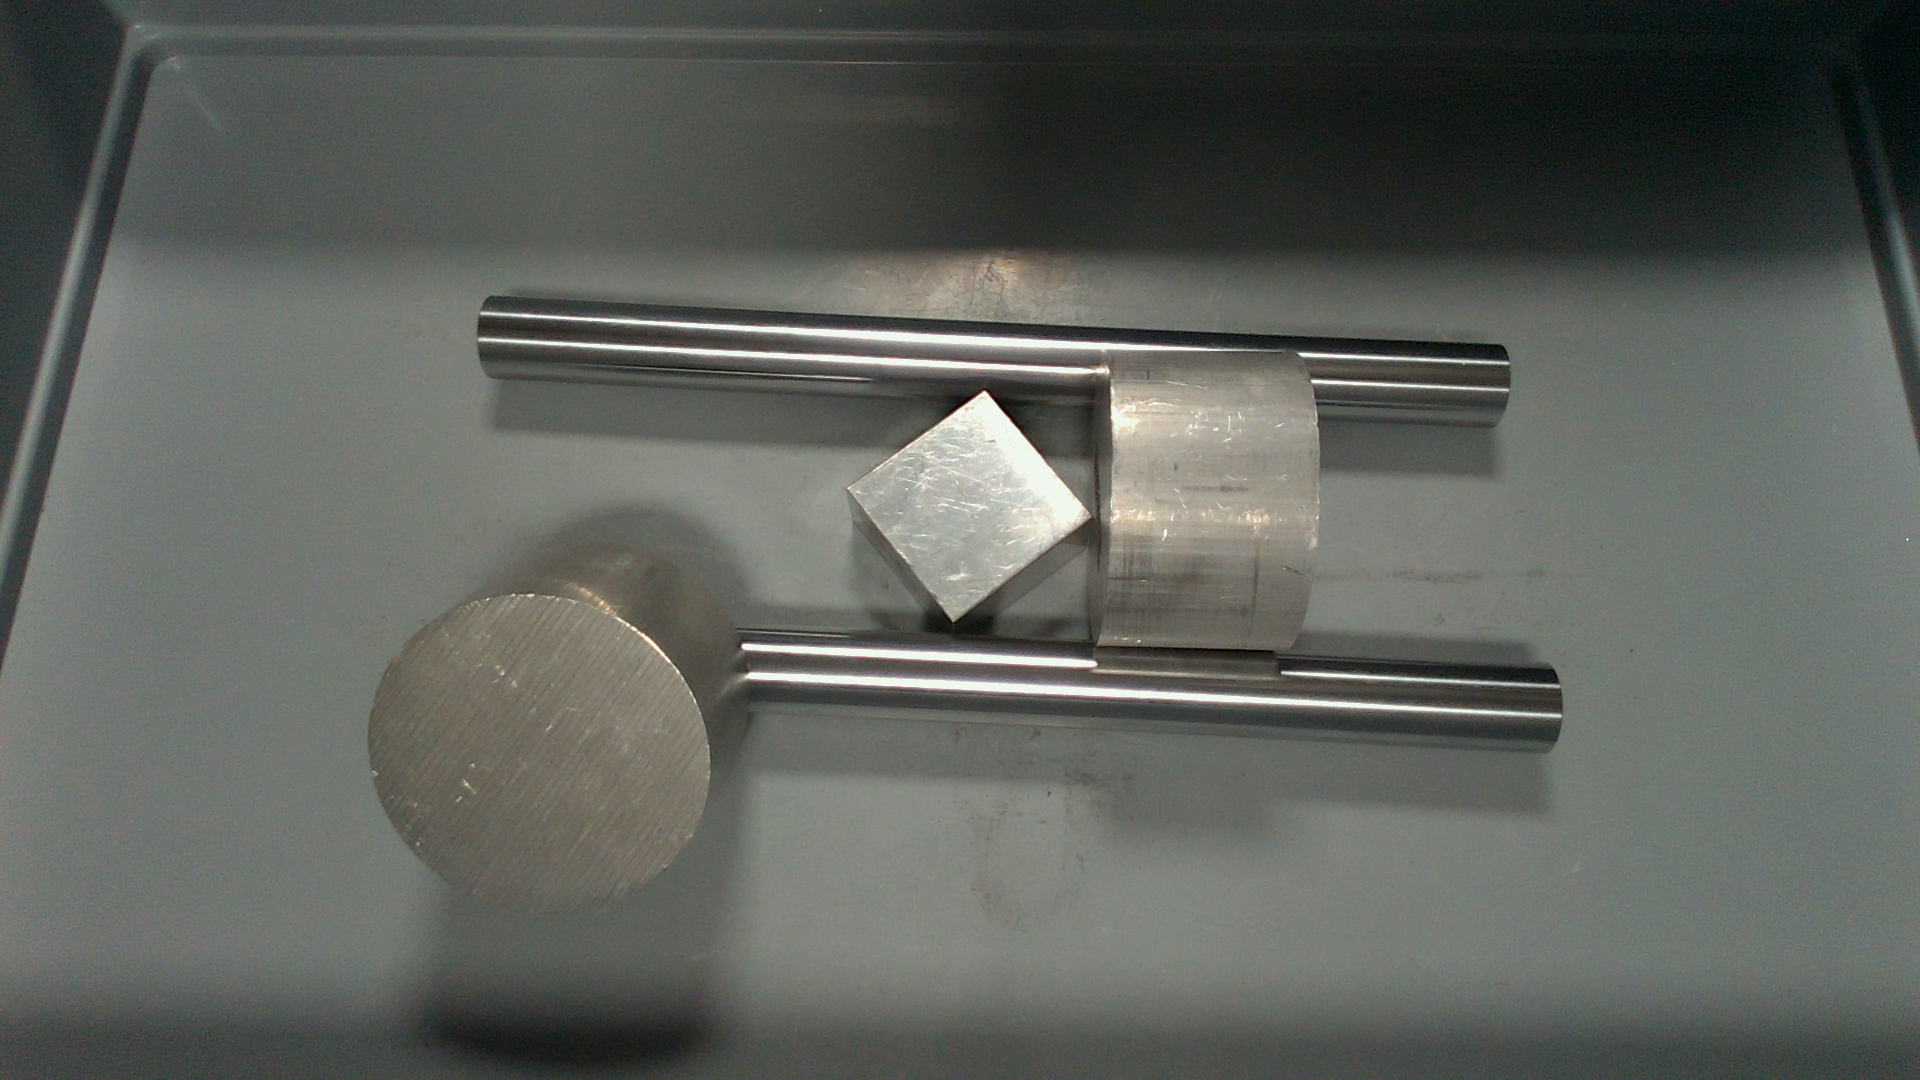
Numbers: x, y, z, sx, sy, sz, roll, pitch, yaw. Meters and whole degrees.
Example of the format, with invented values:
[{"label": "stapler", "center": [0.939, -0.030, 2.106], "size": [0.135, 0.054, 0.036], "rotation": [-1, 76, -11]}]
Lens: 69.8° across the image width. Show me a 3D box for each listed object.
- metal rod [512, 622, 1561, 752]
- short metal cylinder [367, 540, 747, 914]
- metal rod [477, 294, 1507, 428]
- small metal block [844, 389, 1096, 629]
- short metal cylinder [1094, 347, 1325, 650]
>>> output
[{"label": "metal rod", "center": [0.010, 0.038, 0.379], "size": [0.300, 0.025, 0.025], "rotation": [3, 70, 1]}, {"label": "short metal cylinder", "center": [-0.098, 0.045, 0.345], "size": [0.080, 0.050, 0.080], "rotation": [0, 104, 2]}, {"label": "metal rod", "center": [0.009, -0.054, 0.412], "size": [0.300, 0.025, 0.025], "rotation": [3, 70, 1]}, {"label": "small metal block", "center": [0.003, -0.006, 0.396], "size": [0.050, 0.025, 0.050], "rotation": [-36, 74, -12]}, {"label": "short metal cylinder", "center": [0.063, -0.011, 0.369], "size": [0.050, 0.080, 0.080], "rotation": [2, 70, 1]}]
